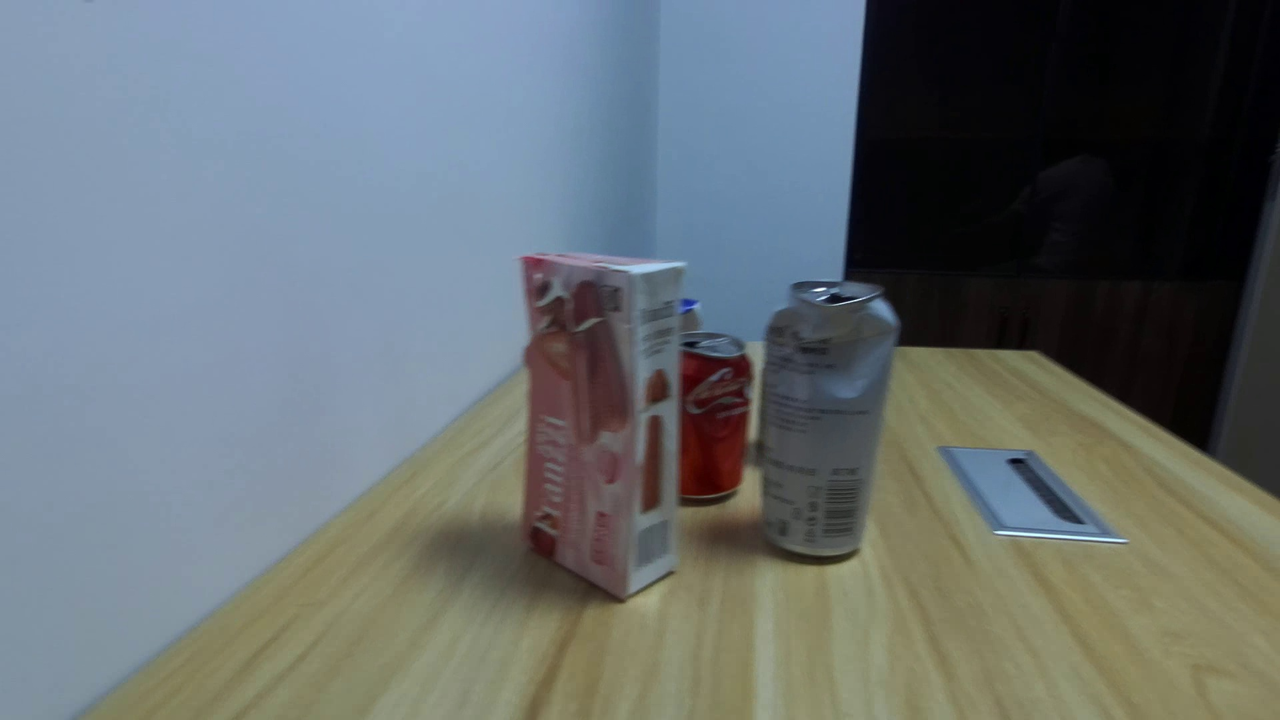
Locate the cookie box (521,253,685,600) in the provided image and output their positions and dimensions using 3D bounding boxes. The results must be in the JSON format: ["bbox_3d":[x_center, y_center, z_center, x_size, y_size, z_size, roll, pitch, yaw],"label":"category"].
[{"bbox_3d":[-0.025,0.034,0.411,0.060,0.186,0.104,-11,17,-43],"label":"cookie box"}]

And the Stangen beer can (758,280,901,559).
[{"bbox_3d":[0.112,0.038,0.437,0.066,0.166,0.065,-4,16,-19],"label":"Stangen beer can"}]

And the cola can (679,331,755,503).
[{"bbox_3d":[0.048,0.039,0.528,0.072,0.117,0.065,-8,18,-30],"label":"cola can"}]
